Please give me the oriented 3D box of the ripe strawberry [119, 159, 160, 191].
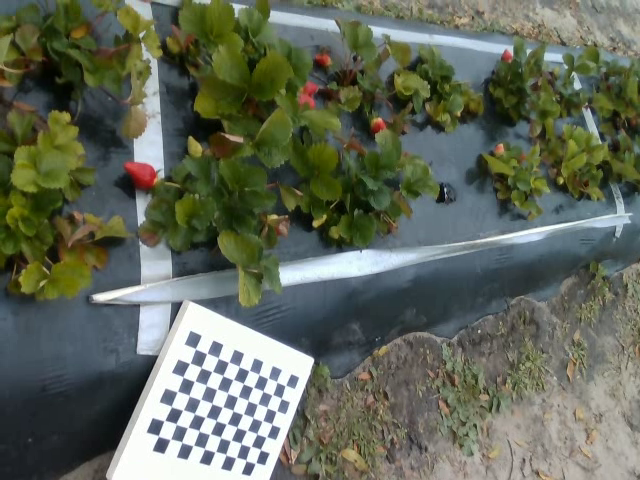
[{"bbox_3d":[-0.249,-0.093,0.838,0.038,0.041,0.051,14,-11,47],"label":"ripe strawberry"}]
